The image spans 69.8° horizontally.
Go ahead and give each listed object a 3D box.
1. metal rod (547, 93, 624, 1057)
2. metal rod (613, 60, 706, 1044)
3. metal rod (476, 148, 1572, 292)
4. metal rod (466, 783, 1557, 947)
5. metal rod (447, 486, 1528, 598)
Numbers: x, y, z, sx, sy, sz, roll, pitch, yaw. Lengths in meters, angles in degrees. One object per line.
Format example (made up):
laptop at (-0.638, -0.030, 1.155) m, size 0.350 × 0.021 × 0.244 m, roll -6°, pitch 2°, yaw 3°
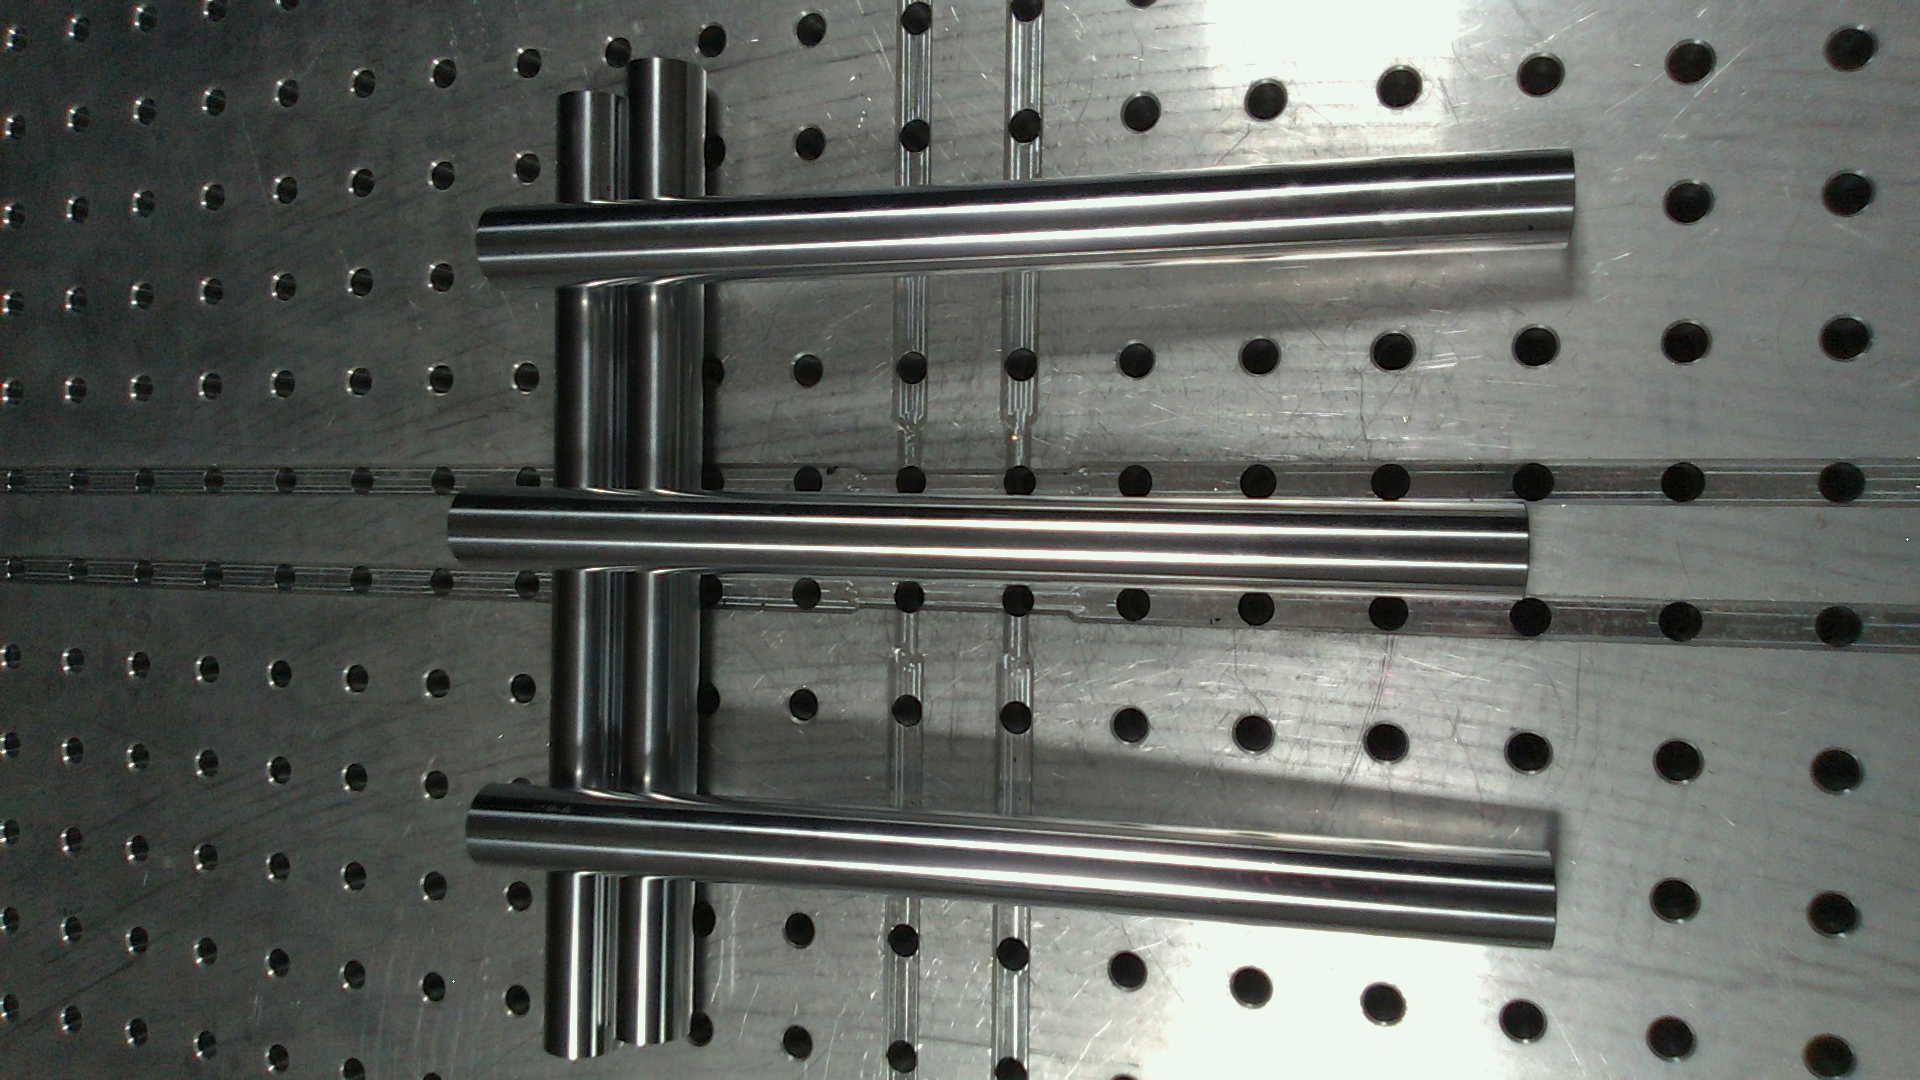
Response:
metal rod at (-0.118, 0.011, 0.440) m, size 0.025 × 0.025 × 0.300 m, roll 1°, pitch 90°, yaw 20°
metal rod at (-0.094, 0.004, 0.432) m, size 0.025 × 0.025 × 0.300 m, roll 1°, pitch 90°, yaw 20°
metal rod at (0.006, -0.087, 0.381) m, size 0.299 × 0.025 × 0.025 m, roll 0°, pitch 90°, yaw 14°
metal rod at (0.003, 0.088, 0.382) m, size 0.299 × 0.025 × 0.025 m, roll 1°, pitch 90°, yaw 14°
metal rod at (-0.004, -0.001, 0.383) m, size 0.299 × 0.025 × 0.025 m, roll 1°, pitch 91°, yaw 14°
